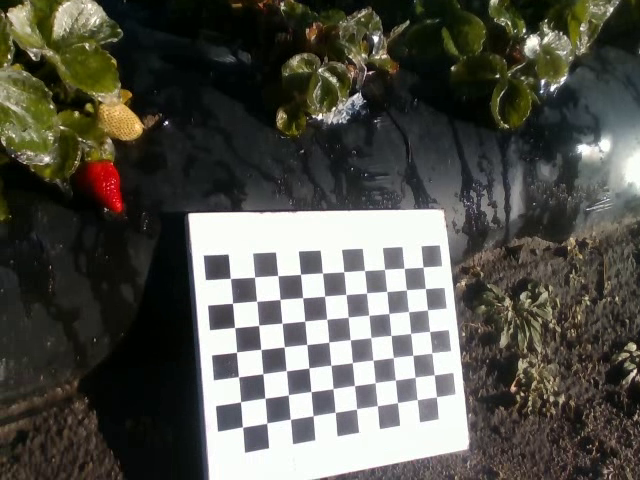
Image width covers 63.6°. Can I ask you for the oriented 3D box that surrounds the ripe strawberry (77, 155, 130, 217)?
[{"bbox_3d":[-0.194,-0.050,0.468,0.041,0.052,0.040,-21,-8,-22],"label":"ripe strawberry"}]
